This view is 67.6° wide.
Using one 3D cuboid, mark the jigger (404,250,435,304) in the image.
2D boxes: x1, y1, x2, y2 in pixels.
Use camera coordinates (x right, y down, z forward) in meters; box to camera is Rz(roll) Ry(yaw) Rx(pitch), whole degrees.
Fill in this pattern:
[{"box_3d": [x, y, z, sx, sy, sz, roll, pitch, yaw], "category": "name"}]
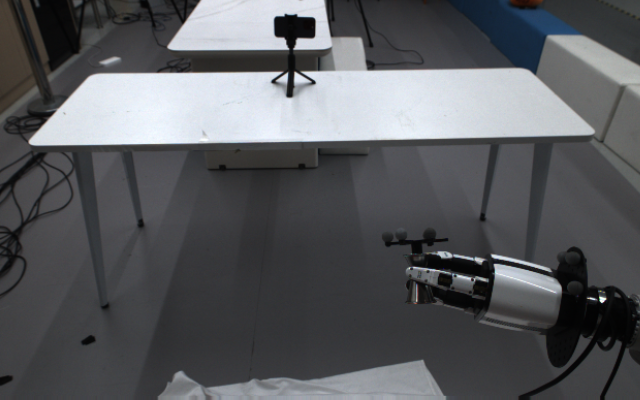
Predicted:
[{"box_3d": [0.139, 0.108, 0.680, 0.043, 0.071, 0.043, -2, -7, 0], "category": "jigger"}]
